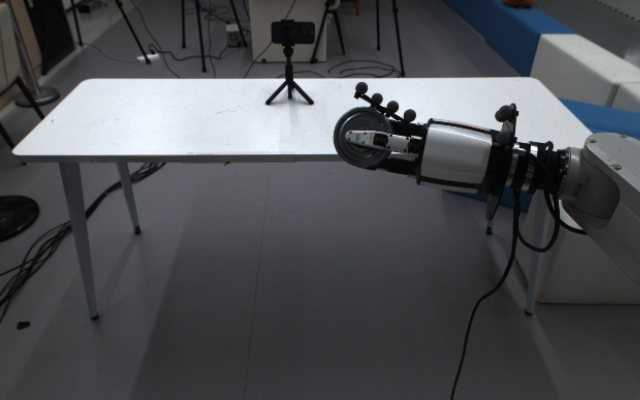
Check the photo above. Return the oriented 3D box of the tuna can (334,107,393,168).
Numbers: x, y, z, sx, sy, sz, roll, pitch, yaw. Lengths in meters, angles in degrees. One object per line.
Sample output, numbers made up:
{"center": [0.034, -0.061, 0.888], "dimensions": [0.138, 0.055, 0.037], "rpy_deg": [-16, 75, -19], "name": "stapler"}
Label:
{"center": [0.066, -0.083, 0.689], "dimensions": [0.085, 0.085, 0.034], "rpy_deg": [12, 4, 15], "name": "tuna can"}
